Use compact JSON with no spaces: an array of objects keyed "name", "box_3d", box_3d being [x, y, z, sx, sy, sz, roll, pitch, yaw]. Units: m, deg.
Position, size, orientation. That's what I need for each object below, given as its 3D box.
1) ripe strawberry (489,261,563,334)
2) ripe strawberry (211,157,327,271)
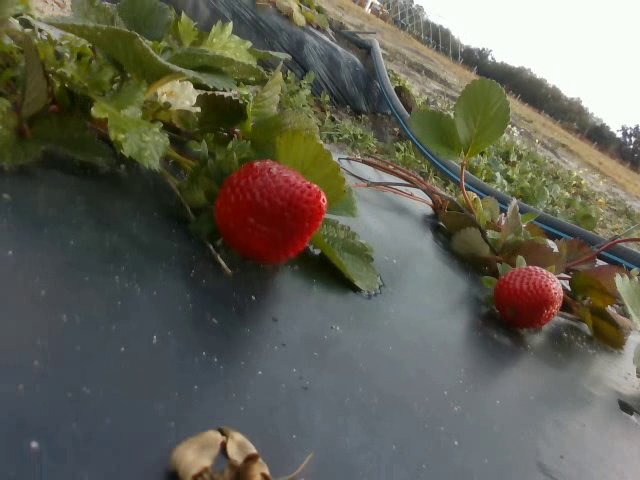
[{"name":"ripe strawberry","box_3d":[0.109,0.029,0.301,0.041,0.045,0.052,-27,-5,-3]},{"name":"ripe strawberry","box_3d":[-0.015,-0.012,0.213,0.046,0.051,0.050,-49,13,-30]}]
